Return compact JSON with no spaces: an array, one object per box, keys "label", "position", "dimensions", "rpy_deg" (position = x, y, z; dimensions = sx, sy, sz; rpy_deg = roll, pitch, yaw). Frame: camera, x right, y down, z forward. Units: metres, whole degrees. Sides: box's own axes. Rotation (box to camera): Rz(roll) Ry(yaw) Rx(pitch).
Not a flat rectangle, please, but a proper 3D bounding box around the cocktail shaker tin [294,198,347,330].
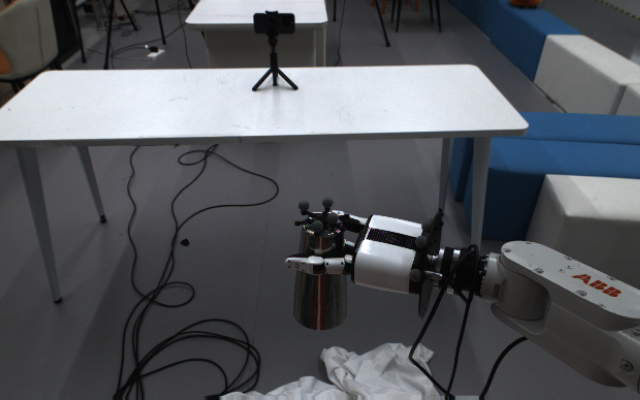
[{"label":"cocktail shaker tin","position":[0.004,0.111,0.786],"dimensions":[0.093,0.170,0.093],"rpy_deg":[1,27,-1]}]
